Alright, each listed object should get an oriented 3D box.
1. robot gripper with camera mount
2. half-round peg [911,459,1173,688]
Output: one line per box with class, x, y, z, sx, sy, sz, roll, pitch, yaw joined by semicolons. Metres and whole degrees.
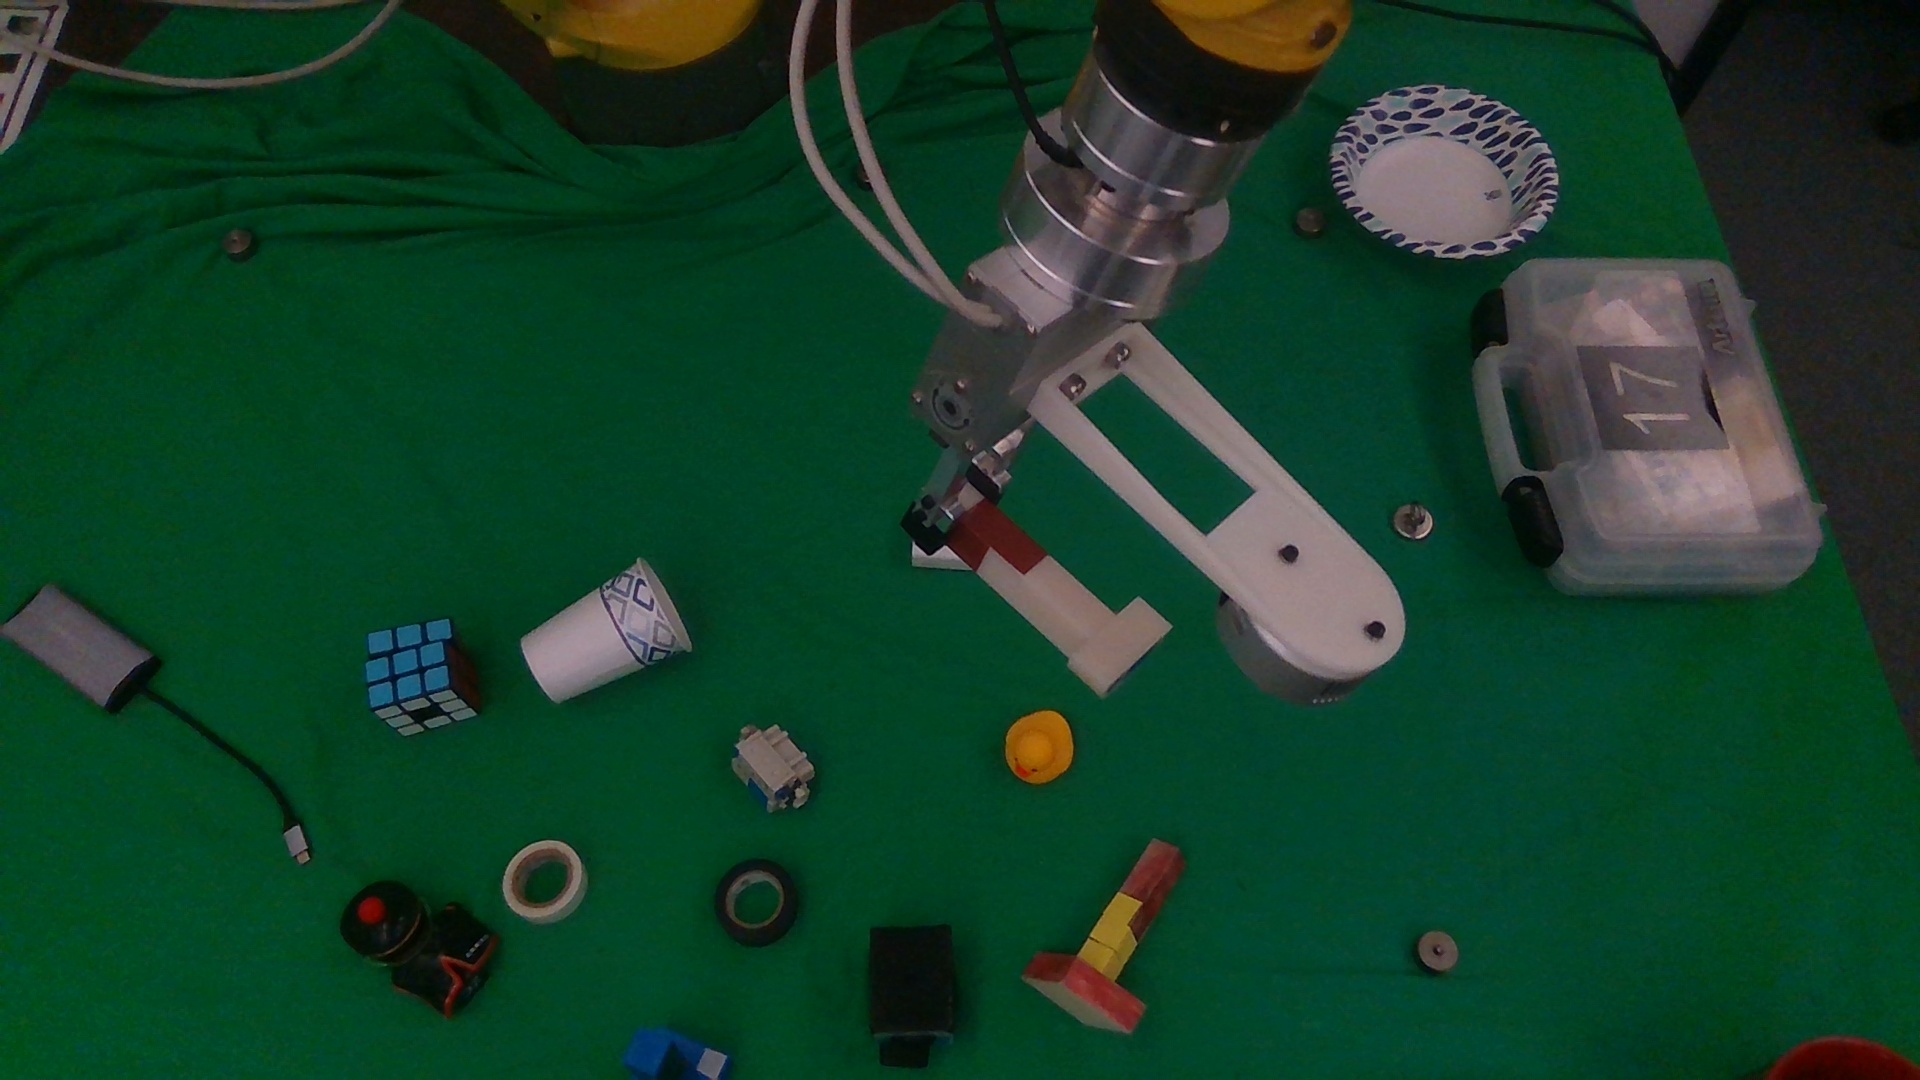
robot gripper with camera mount;0.071;-0.009;0.538;0.193;0.159;0.118;43;50;11
half-round peg;0.028;0.011;0.589;0.122;0.031;0.054;42;50;15
